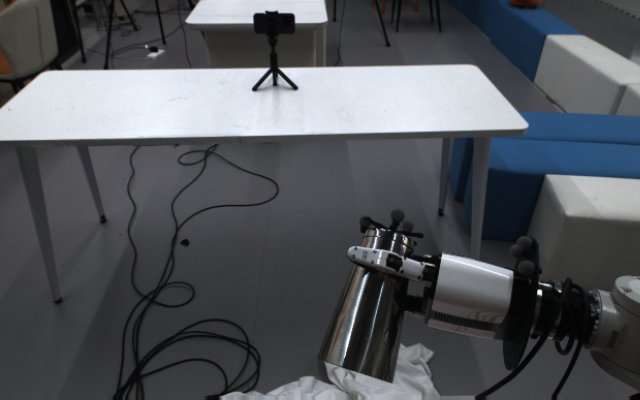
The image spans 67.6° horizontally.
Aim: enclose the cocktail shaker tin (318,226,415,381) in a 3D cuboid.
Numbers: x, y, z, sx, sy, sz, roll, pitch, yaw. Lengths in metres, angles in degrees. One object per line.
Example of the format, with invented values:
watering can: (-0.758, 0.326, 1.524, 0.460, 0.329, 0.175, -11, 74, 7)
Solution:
cocktail shaker tin: (0.066, 0.123, 0.600, 0.093, 0.093, 0.170, 13, 71, 15)
